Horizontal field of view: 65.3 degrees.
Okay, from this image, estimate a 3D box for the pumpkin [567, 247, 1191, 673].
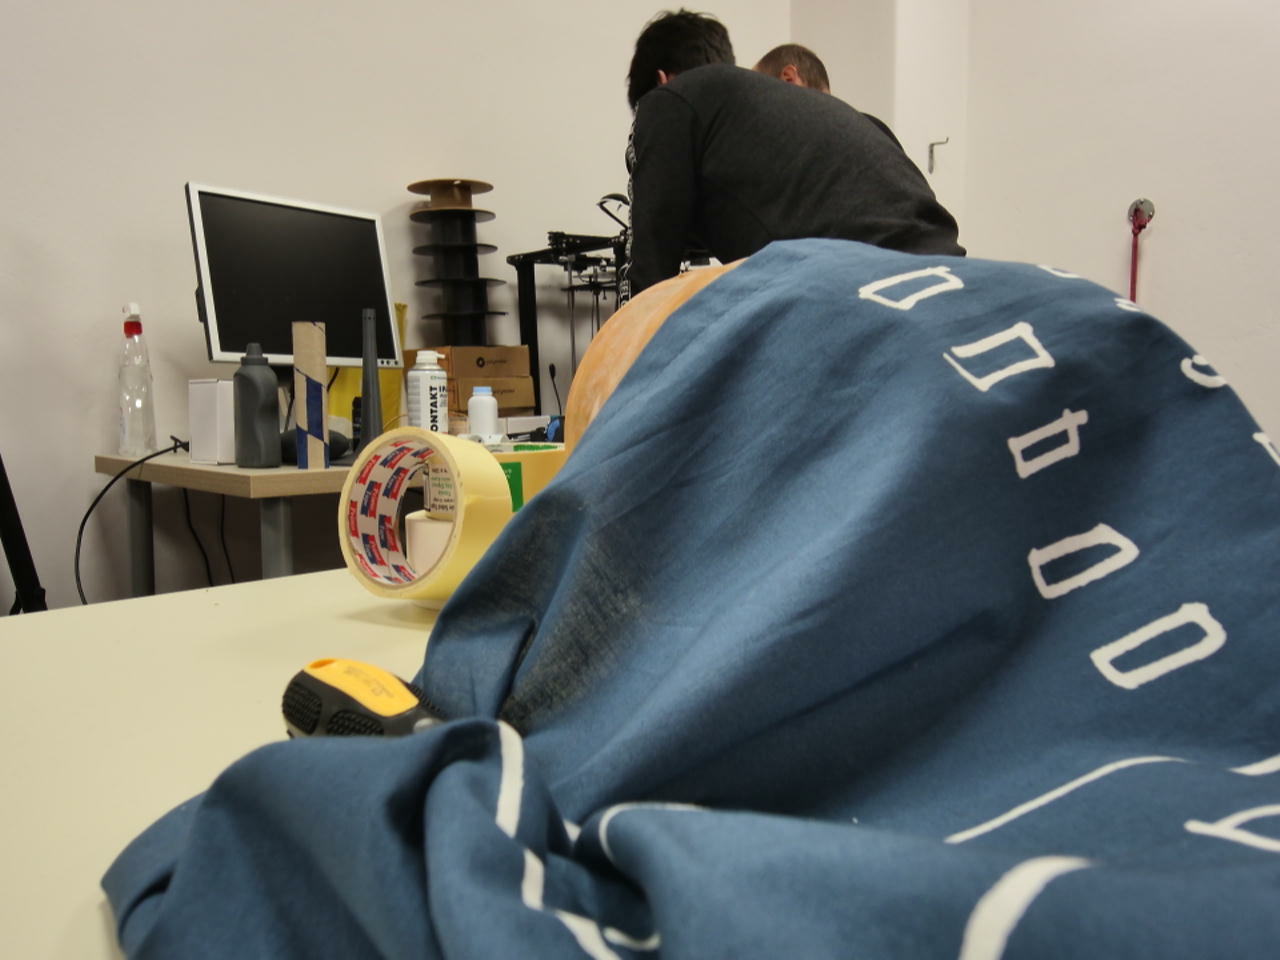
[{"bbox_3d":[0.098,-0.011,0.465,0.277,0.181,0.277,0,3,0],"label":"pumpkin"}]
